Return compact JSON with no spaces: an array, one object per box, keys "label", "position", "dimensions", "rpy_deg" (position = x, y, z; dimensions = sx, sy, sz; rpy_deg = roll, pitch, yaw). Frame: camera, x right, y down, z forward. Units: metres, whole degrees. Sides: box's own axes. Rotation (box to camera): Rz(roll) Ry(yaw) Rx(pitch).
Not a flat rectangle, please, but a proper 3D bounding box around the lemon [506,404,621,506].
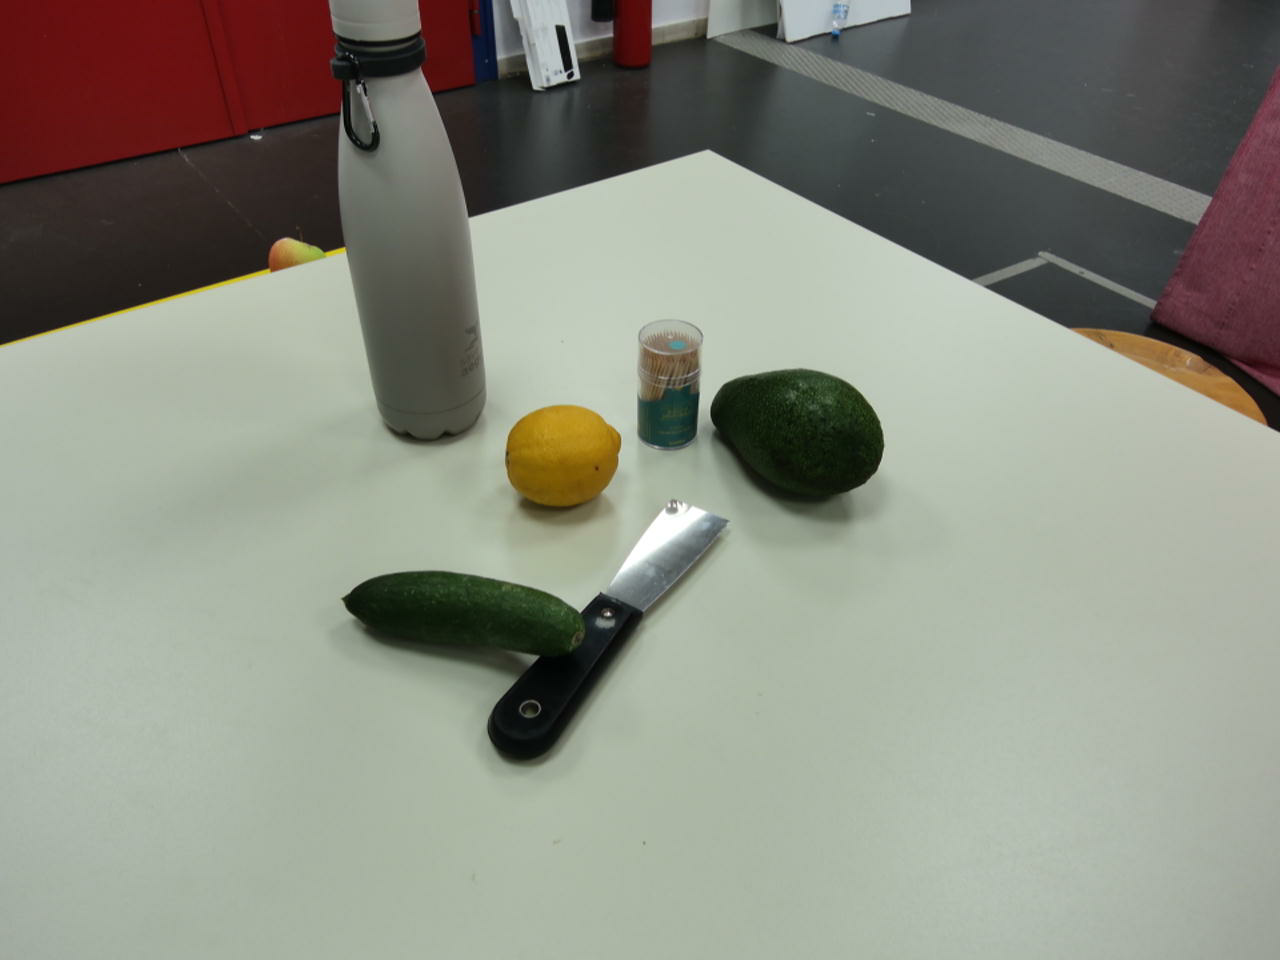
[{"label":"lemon","position":[-0.046,-0.014,0.586],"dimensions":[0.067,0.059,0.060],"rpy_deg":[4,38,4]}]
